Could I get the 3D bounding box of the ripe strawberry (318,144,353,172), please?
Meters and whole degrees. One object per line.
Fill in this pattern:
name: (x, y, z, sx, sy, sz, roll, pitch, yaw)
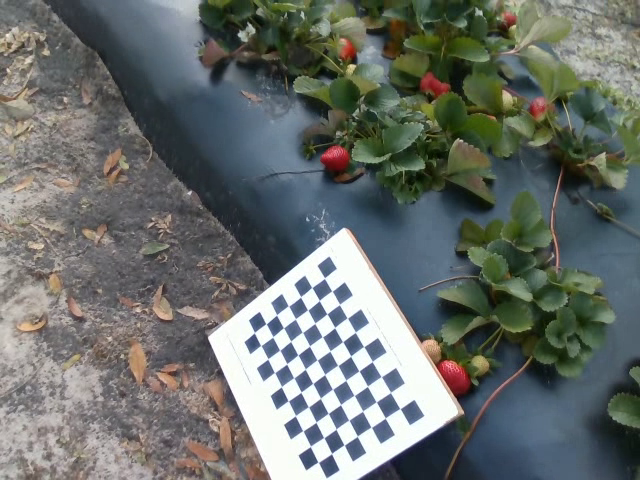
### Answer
ripe strawberry: (0.019, -0.139, 0.980, 0.053, 0.049, 0.050, -9, 52, -50)
